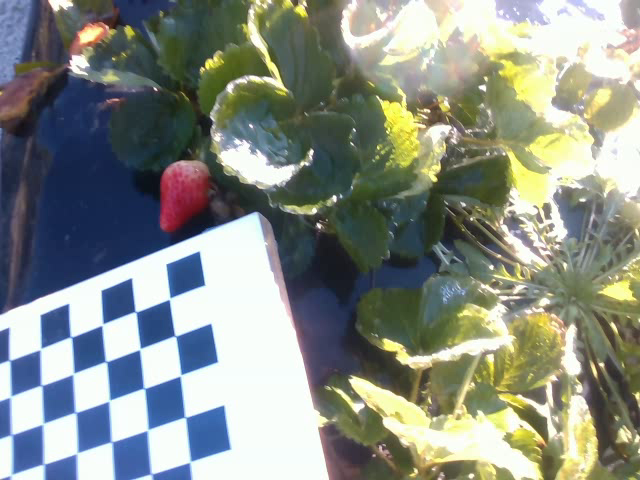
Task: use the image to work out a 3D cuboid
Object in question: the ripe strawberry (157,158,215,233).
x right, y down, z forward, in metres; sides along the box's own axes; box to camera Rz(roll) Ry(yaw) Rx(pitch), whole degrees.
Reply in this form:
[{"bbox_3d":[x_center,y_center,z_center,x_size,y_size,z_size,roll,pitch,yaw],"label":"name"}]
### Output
[{"bbox_3d":[-0.110,-0.036,0.473,0.040,0.065,0.040,21,-10,24],"label":"ripe strawberry"}]
